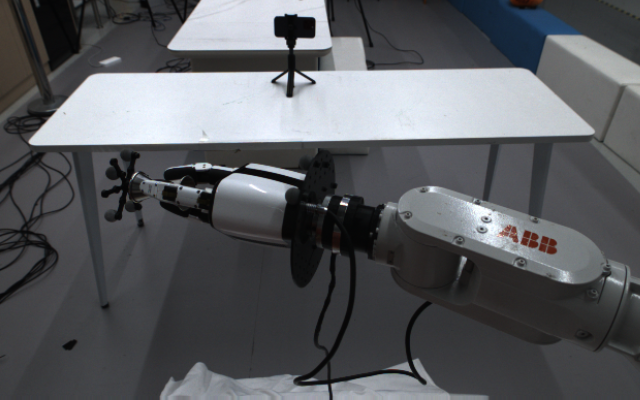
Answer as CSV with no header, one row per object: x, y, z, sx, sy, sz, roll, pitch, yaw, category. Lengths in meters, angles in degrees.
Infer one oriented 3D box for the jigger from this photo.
-0.189,-0.014,0.601,0.071,0.043,0.043,7,35,13,jigger
